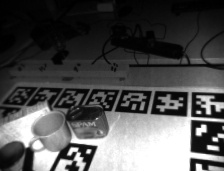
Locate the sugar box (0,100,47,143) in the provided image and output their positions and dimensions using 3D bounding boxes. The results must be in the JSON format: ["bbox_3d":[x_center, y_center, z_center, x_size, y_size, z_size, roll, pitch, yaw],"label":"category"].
[{"bbox_3d":[-0.265,0.118,0.631,0.177,0.093,0.045,-24,39,-12],"label":"sugar box"}]

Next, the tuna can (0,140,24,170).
[{"bbox_3d":[-0.285,0.193,0.586,0.085,0.034,0.085,-8,43,9],"label":"tuna can"}]

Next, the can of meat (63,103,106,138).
[{"bbox_3d":[-0.073,0.099,0.601,0.101,0.084,0.057,-4,40,11],"label":"can of meat"}]

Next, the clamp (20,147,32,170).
[{"bbox_3d":[-0.225,0.236,0.528,0.123,0.037,0.163,-33,48,-26],"label":"clamp"}]

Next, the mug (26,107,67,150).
[{"bbox_3d":[-0.182,0.127,0.591,0.092,0.082,0.118,22,55,35],"label":"mug"}]
